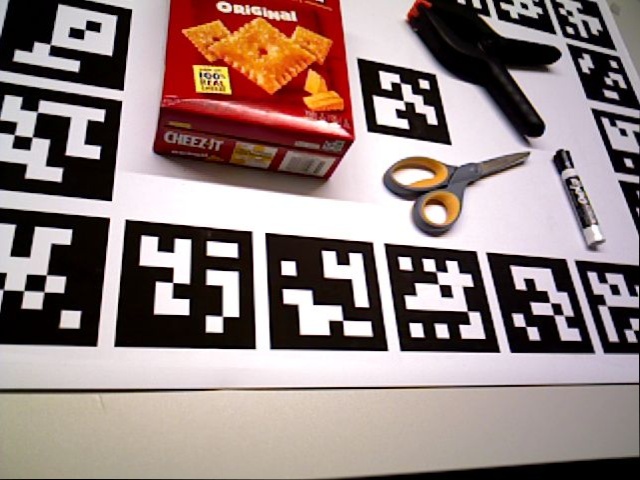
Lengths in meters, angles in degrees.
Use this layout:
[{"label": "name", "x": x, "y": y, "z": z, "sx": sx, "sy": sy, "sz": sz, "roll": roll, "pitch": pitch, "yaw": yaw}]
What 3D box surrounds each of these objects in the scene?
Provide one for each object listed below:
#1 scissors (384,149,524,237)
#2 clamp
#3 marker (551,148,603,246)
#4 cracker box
[{"label": "scissors", "x": 0.150, "y": -0.067, "z": 0.559, "sx": 0.198, "sy": 0.016, "sz": 0.087, "roll": -24, "pitch": 74, "yaw": -32}, {"label": "clamp", "x": 0.180, "y": -0.228, "z": 0.659, "sx": 0.202, "sy": 0.037, "sz": 0.162, "roll": 32, "pitch": 56, "yaw": -4}, {"label": "marker", "x": 0.283, "y": -0.051, "z": 0.602, "sx": 0.019, "sy": 0.020, "sz": 0.120, "roll": 1, "pitch": 63, "yaw": -21}, {"label": "cracker box", "x": -0.064, "y": -0.172, "z": 0.498, "sx": 0.162, "sy": 0.073, "sz": 0.211, "roll": 6, "pitch": 62, "yaw": -19}]
